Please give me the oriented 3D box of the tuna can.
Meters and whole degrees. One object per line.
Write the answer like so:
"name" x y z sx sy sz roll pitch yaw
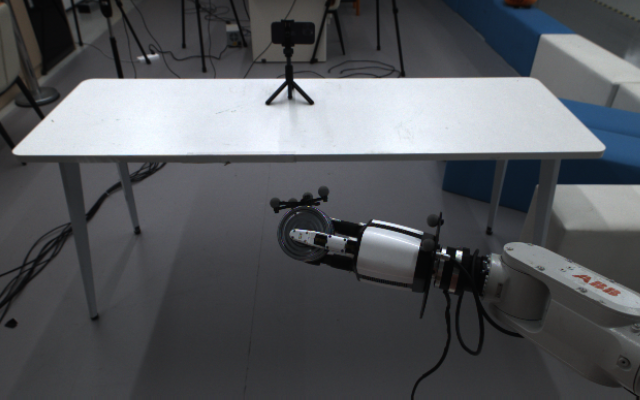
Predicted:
"tuna can" -0.018 0.057 0.742 0.085 0.085 0.034 12 -6 14
